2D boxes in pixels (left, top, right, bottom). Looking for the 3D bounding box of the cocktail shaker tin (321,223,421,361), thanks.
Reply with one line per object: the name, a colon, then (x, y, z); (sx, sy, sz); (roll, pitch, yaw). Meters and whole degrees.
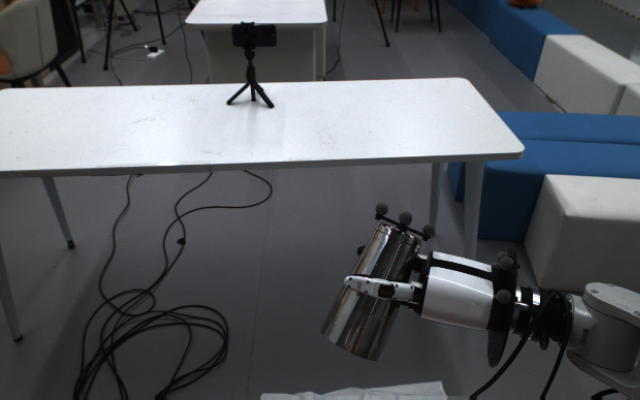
cocktail shaker tin: (0.079, 0.119, 0.671); (0.093, 0.170, 0.093); (23, 0, 0)
